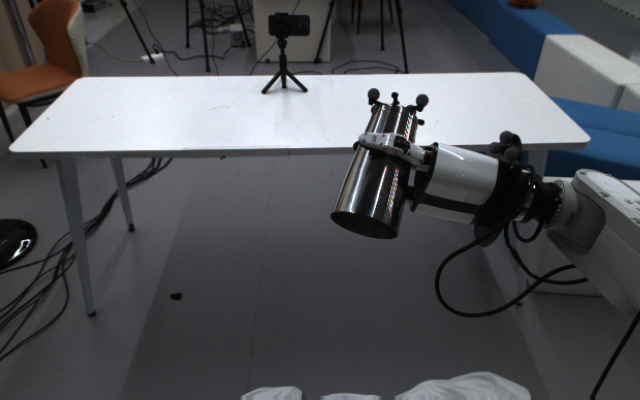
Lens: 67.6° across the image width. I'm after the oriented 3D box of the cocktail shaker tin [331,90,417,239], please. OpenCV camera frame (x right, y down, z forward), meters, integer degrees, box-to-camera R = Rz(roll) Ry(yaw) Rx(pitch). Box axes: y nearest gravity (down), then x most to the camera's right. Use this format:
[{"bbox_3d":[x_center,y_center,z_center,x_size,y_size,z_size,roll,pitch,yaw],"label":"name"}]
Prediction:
[{"bbox_3d":[0.081,-0.044,0.660,0.093,0.093,0.170,13,70,15],"label":"cocktail shaker tin"}]
